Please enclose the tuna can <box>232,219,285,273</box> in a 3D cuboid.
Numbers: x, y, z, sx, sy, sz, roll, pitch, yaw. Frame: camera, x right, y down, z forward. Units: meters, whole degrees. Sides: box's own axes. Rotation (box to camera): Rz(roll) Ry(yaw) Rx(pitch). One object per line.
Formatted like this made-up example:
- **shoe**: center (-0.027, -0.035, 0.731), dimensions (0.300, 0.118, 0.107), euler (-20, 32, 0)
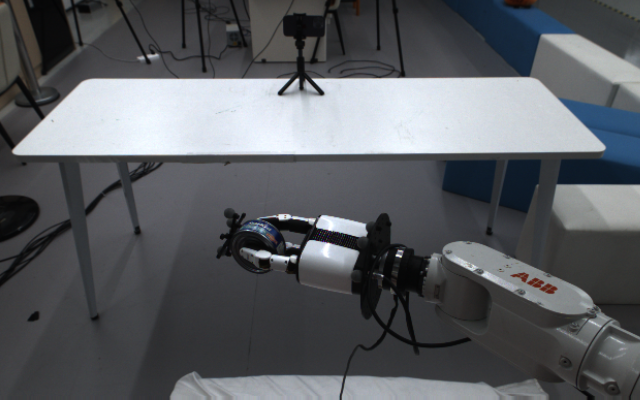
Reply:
- **tuna can**: center (-0.098, 0.078, 0.770), dimensions (0.085, 0.085, 0.034), euler (12, 30, 14)
